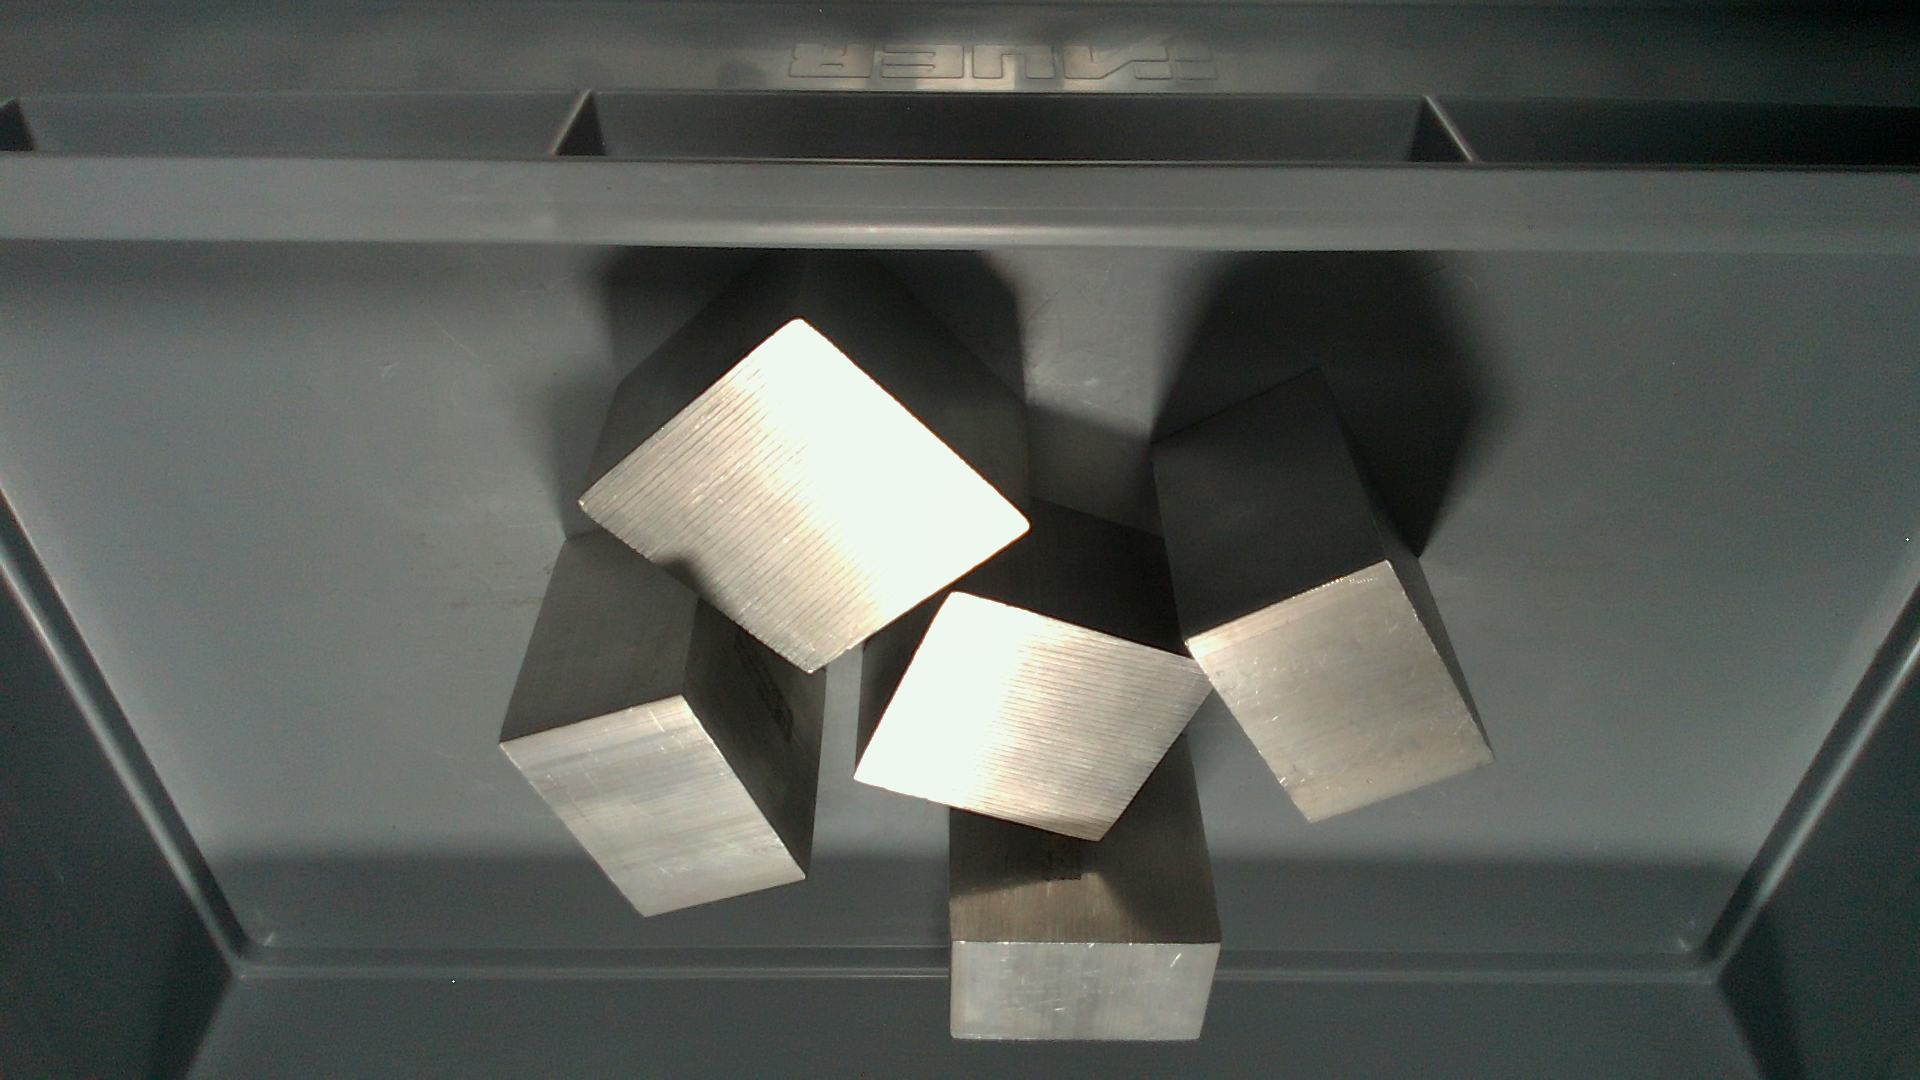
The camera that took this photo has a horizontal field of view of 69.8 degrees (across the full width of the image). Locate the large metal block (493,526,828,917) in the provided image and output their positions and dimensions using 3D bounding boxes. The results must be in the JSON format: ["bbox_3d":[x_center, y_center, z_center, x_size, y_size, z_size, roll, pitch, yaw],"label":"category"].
[{"bbox_3d":[-0.079,0.046,0.392,0.050,0.080,0.080,-15,129,12],"label":"large metal block"}]

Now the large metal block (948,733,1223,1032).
[{"bbox_3d":[0.037,0.109,0.447,0.080,0.080,0.050,1,130,-1],"label":"large metal block"}]

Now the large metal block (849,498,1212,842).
[{"bbox_3d":[0.020,0.036,0.403,0.080,0.050,0.080,17,128,-14],"label":"large metal block"}]

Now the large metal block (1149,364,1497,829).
[{"bbox_3d":[0.094,0.015,0.366,0.050,0.080,0.080,-25,126,19],"label":"large metal block"}]

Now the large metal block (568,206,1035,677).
[{"bbox_3d":[-0.038,-0.022,0.353,0.080,0.050,0.080,-35,122,26],"label":"large metal block"}]
